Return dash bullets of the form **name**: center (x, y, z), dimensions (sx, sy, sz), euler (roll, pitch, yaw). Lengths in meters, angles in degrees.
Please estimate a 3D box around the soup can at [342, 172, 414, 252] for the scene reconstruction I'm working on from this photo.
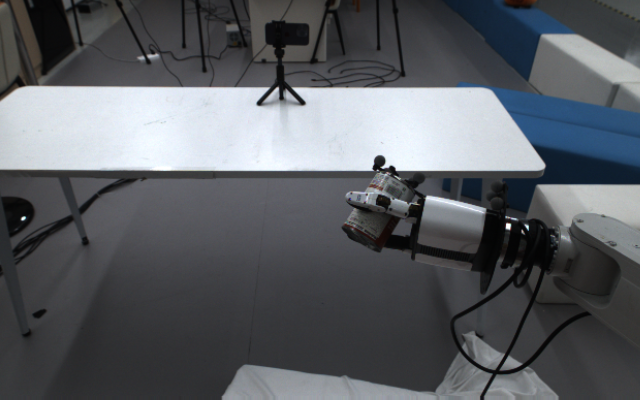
- **soup can**: center (0.087, 0.016, 0.714), dimensions (0.067, 0.067, 0.101), euler (27, 78, 31)
